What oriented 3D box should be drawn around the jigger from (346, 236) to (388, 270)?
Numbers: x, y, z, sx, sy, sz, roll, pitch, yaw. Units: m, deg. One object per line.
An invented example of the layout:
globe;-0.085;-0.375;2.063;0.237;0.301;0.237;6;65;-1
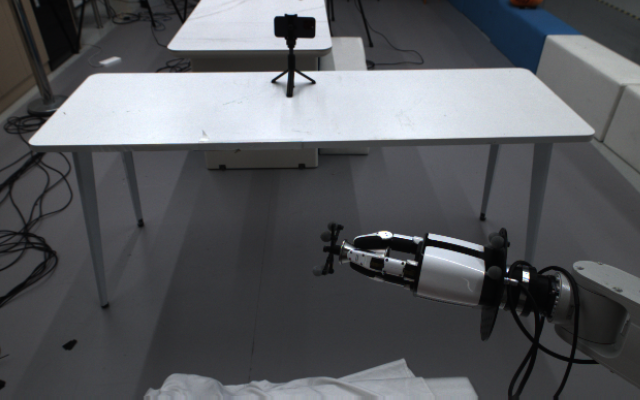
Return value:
jigger;0.073;0.080;0.722;0.071;0.043;0.043;10;35;16
